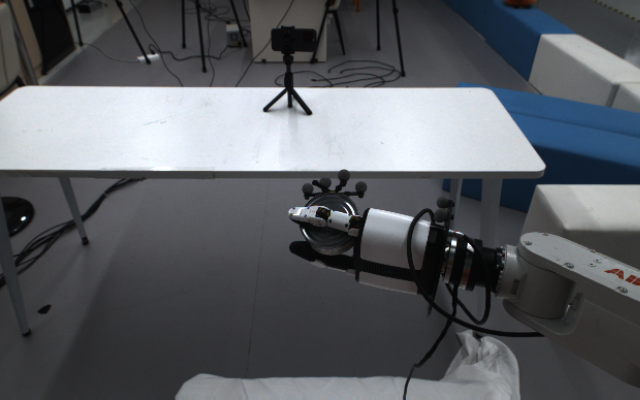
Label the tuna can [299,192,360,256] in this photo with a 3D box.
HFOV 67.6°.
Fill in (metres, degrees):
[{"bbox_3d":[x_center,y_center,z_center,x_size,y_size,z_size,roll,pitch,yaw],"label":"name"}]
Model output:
[{"bbox_3d":[0.016,0.034,0.683,0.085,0.034,0.085,-6,60,10],"label":"tuna can"}]
